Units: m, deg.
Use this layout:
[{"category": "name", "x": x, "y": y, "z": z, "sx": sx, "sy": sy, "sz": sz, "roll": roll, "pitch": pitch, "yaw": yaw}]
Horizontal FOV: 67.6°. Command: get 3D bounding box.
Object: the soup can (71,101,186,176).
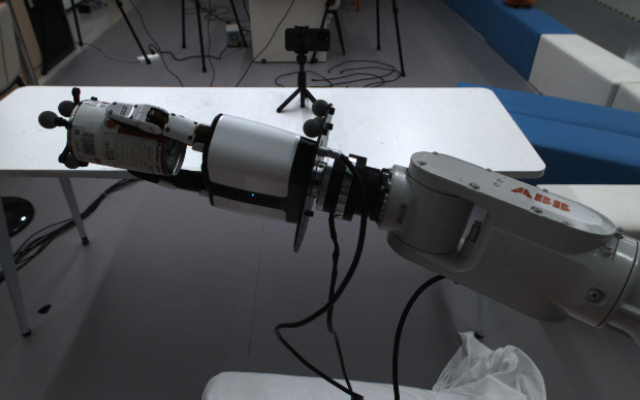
[{"category": "soup can", "x": -0.198, "y": -0.064, "z": 0.513, "sx": 0.101, "sy": 0.067, "sz": 0.067, "roll": 10, "pitch": 35, "yaw": -1}]
